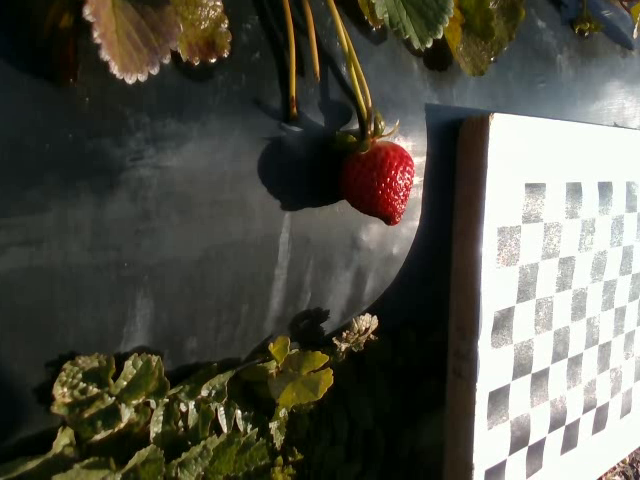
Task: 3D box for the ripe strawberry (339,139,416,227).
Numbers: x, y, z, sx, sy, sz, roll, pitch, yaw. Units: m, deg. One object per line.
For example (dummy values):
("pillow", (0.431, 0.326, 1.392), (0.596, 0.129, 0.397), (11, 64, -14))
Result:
("ripe strawberry", (0.027, -0.023, 0.266), (0.040, 0.044, 0.036), (-28, 12, -34))
